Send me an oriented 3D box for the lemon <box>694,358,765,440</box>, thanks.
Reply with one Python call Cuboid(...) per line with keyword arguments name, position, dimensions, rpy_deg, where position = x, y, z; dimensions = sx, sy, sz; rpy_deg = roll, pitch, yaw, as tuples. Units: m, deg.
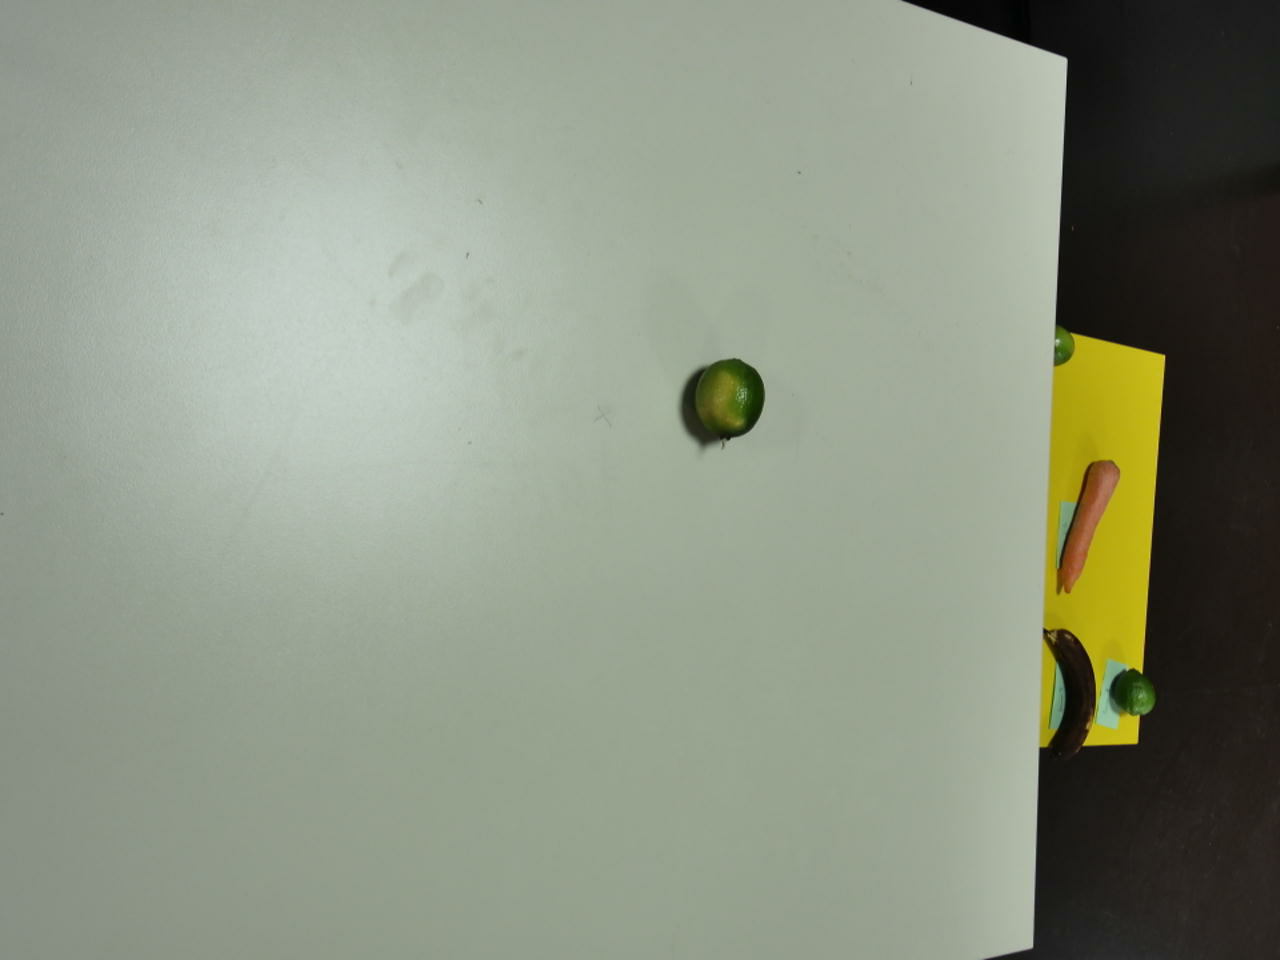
Cuboid(name="lemon", position=(0.066, -0.060, 0.728), dimensions=(0.055, 0.050, 0.054), rpy_deg=(-39, 108, -22))
